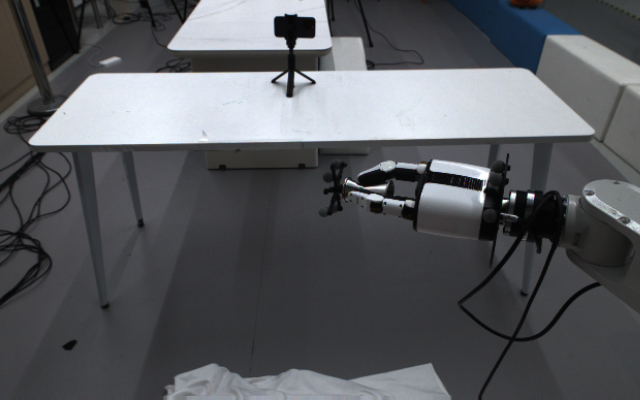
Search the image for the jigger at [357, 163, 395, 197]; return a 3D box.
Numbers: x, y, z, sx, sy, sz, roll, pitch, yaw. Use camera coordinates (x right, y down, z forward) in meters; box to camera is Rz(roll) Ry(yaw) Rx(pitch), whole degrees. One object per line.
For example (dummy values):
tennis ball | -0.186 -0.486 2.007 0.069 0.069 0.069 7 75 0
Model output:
jigger | 0.077 -0.016 0.720 0.071 0.043 0.043 8 34 23
